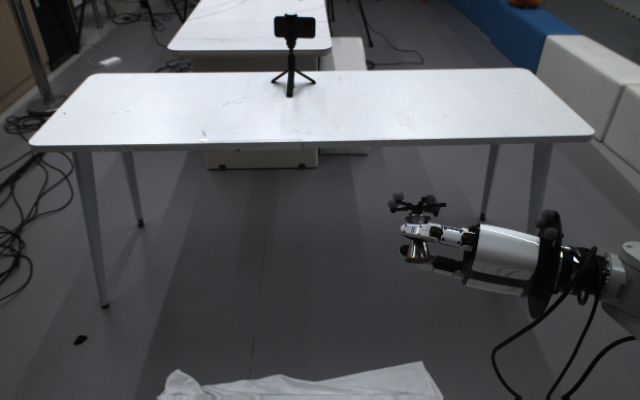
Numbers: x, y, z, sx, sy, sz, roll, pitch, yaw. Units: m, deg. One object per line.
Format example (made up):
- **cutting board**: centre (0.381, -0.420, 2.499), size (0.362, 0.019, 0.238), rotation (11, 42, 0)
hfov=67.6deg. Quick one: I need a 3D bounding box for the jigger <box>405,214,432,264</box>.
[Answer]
- **jigger**: centre (0.149, 0.058, 0.742), size (0.043, 0.043, 0.071), rotation (3, 72, 1)
